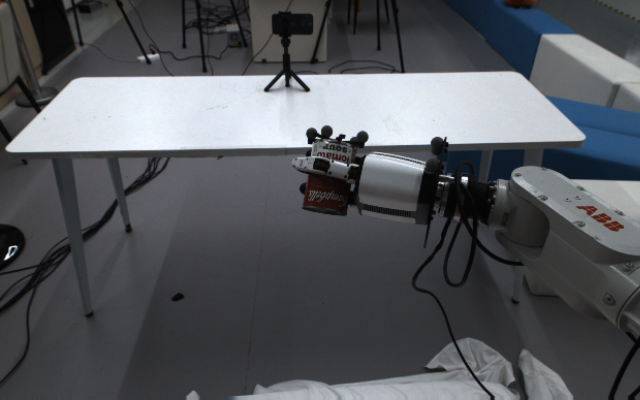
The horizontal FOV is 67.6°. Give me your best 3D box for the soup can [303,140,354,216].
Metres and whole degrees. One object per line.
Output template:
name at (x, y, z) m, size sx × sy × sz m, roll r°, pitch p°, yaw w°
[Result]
soup can at (0.015, -0.032, 0.713) m, size 0.067 × 0.101 × 0.067 m, roll 9°, pitch -6°, yaw 1°
